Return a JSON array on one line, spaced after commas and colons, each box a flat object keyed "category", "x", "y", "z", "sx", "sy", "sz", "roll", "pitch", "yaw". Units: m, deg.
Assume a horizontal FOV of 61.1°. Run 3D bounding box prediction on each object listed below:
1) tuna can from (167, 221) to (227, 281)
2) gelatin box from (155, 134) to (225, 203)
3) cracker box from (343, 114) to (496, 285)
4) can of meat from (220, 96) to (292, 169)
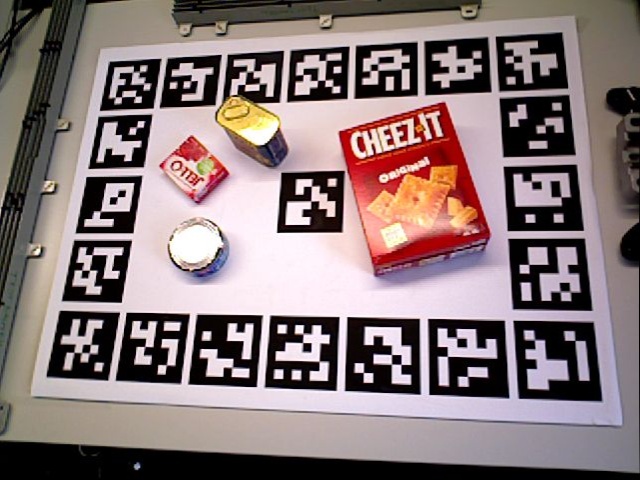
[{"category": "tuna can", "x": -0.185, "y": 0.018, "z": 0.820, "sx": 0.086, "sy": 0.034, "sz": 0.085, "roll": -3, "pitch": 74, "yaw": 9}, {"category": "gelatin box", "x": -0.208, "y": -0.116, "z": 0.874, "sx": 0.072, "sy": 0.030, "sz": 0.089, "roll": -44, "pitch": 73, "yaw": -10}, {"category": "cracker box", "x": 0.136, "y": -0.061, "z": 0.783, "sx": 0.164, "sy": 0.072, "sz": 0.212, "roll": -15, "pitch": 68, "yaw": 2}, {"category": "can of meat", "x": -0.097, "y": -0.165, "z": 0.852, "sx": 0.102, "sy": 0.084, "sz": 0.057, "roll": 31, "pitch": 77, "yaw": 18}]
